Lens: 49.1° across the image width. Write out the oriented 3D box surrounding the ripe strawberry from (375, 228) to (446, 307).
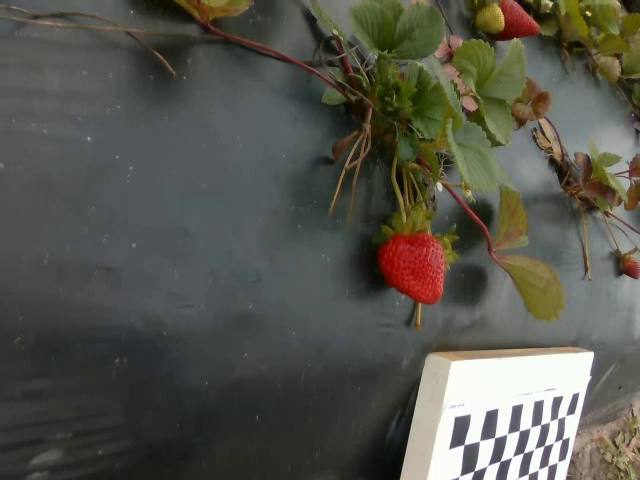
[{"bbox_3d":[0.020,0.006,0.135,0.014,0.017,0.018,-33,-23,17],"label":"ripe strawberry"}]
